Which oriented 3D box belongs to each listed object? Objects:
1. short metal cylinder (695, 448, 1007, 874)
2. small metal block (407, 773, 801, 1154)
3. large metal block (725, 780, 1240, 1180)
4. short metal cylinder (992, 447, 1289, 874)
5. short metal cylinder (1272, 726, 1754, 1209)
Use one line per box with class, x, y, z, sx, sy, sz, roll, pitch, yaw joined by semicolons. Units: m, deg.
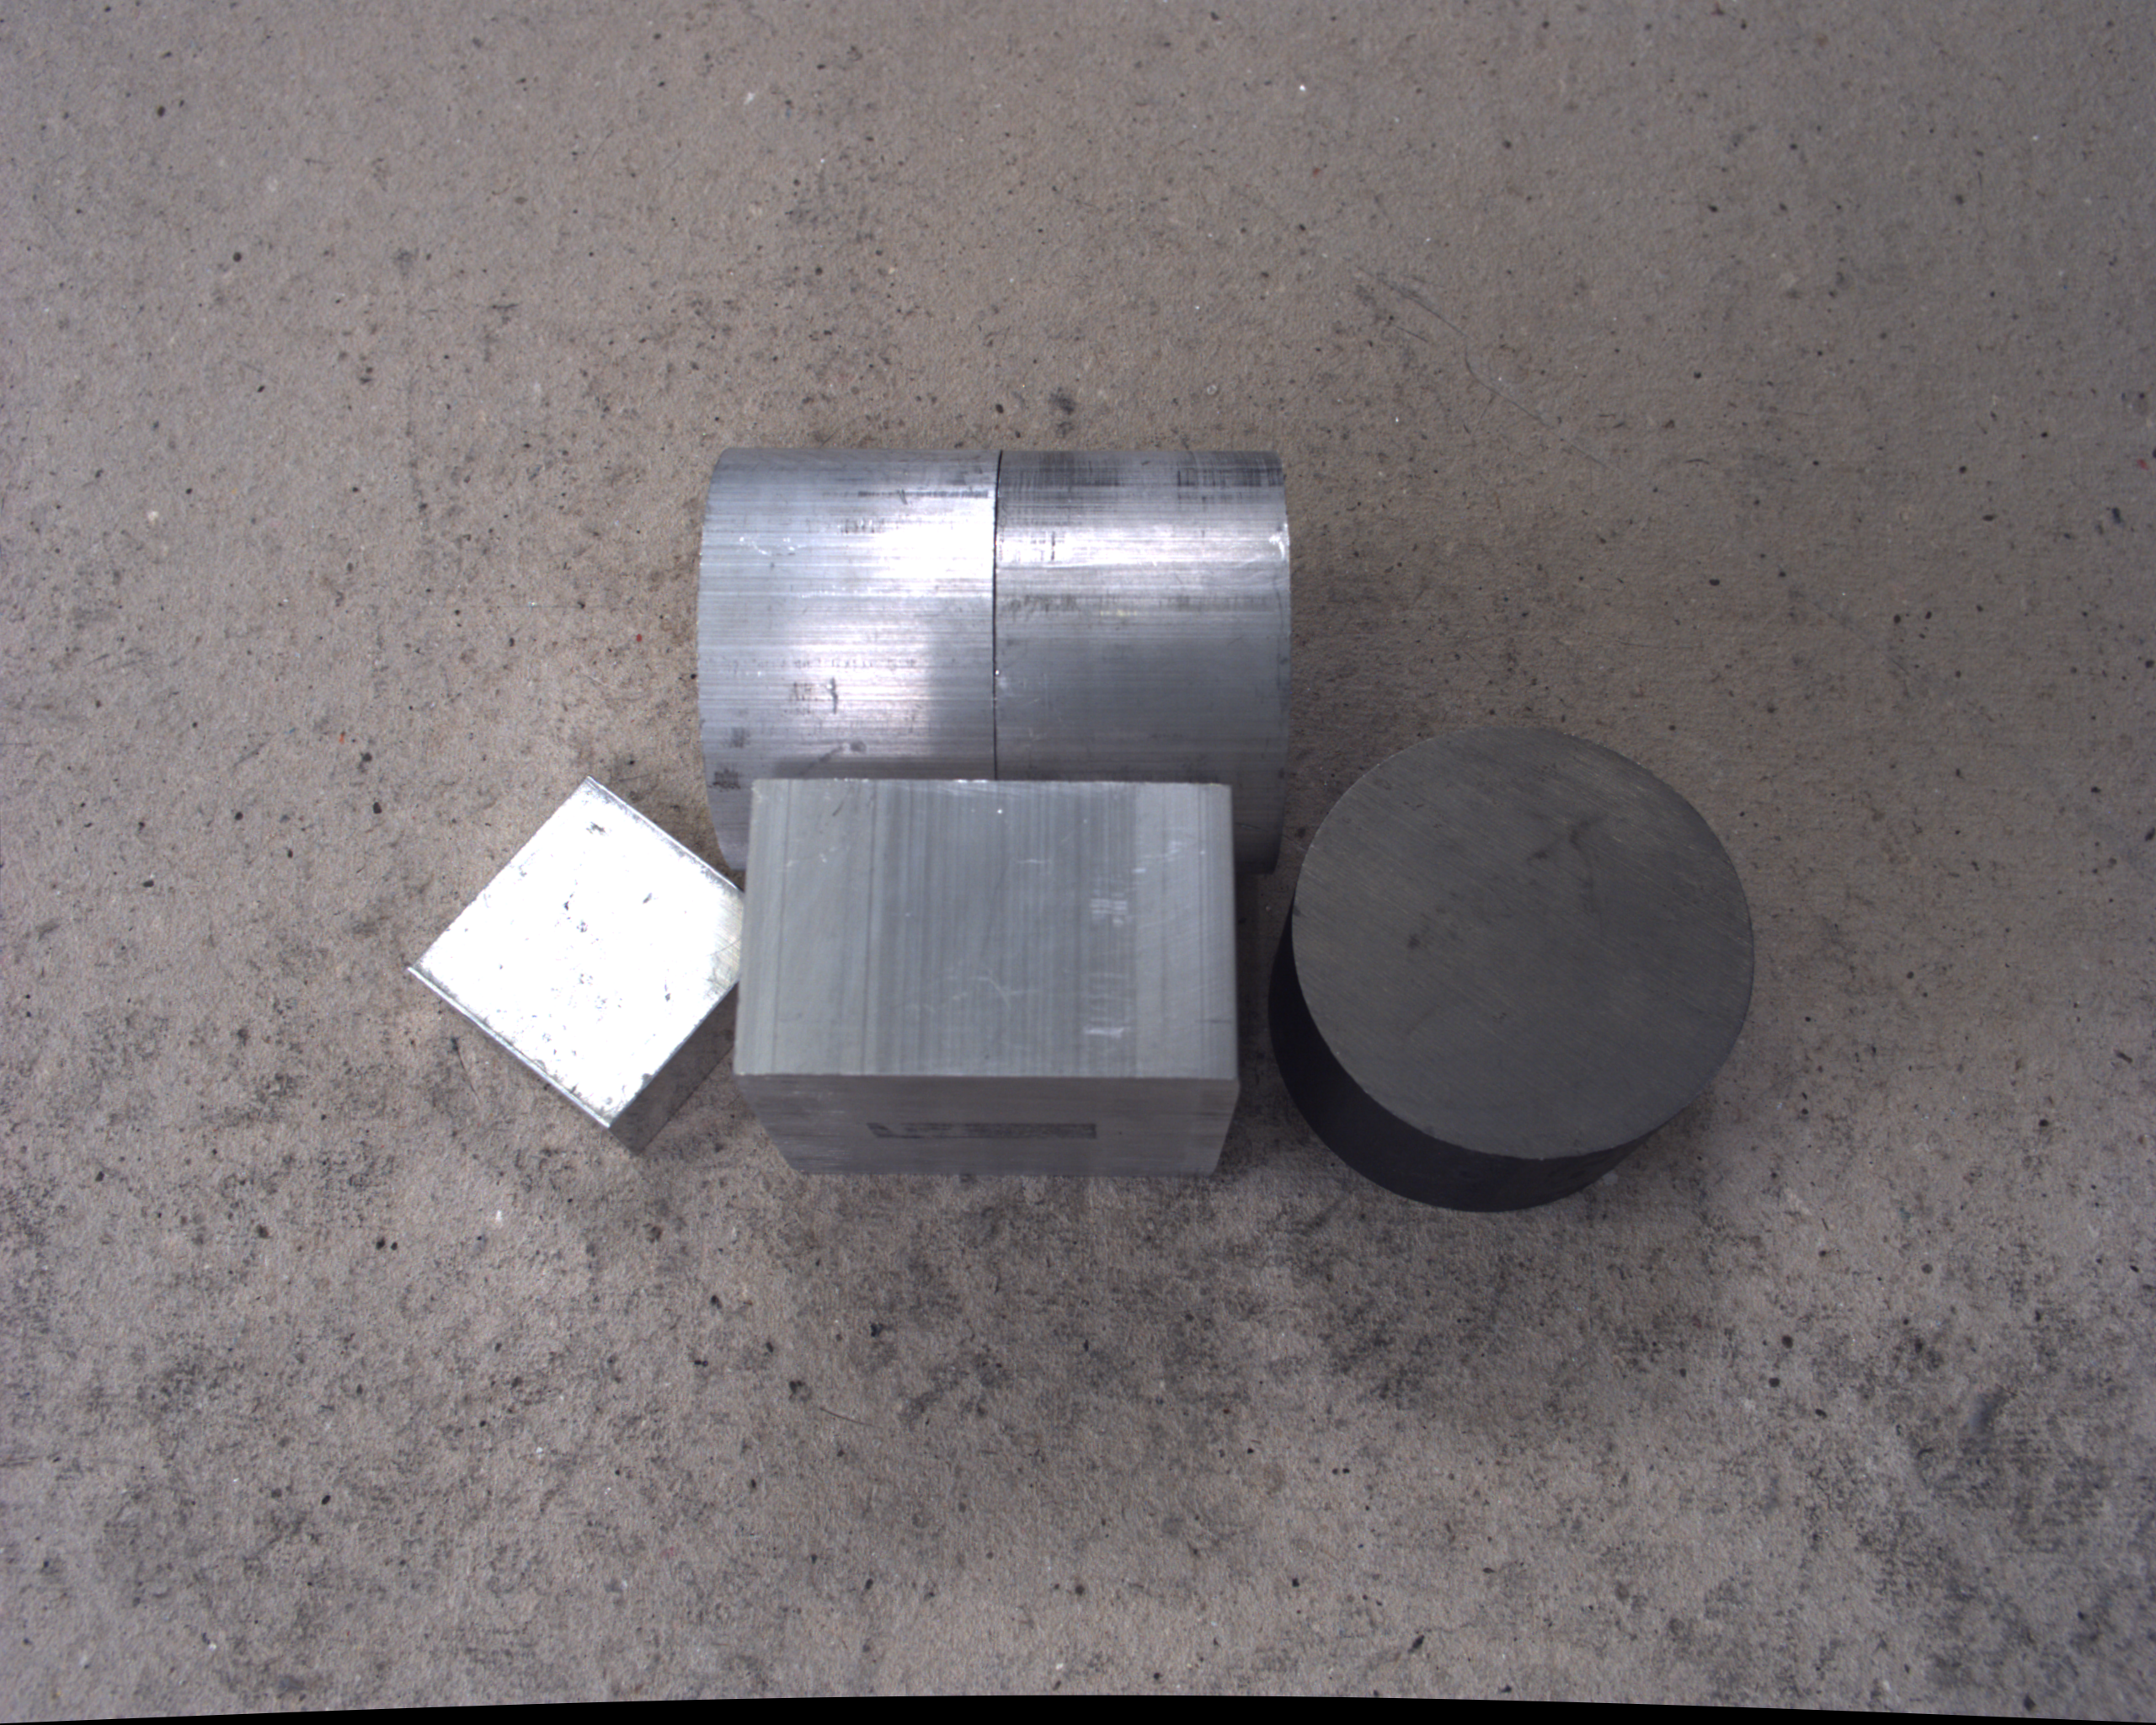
short metal cylinder;-0.040;-0.037;0.394;0.050;0.080;0.080;1;70;0
small metal block;-0.090;0.020;0.402;0.050;0.025;0.050;36;74;12
large metal block;-0.015;0.024;0.372;0.081;0.080;0.050;1;70;0
short metal cylinder;0.011;-0.038;0.394;0.050;0.080;0.080;1;70;0
short metal cylinder;0.078;0.021;0.389;0.081;0.050;0.080;0;70;0
